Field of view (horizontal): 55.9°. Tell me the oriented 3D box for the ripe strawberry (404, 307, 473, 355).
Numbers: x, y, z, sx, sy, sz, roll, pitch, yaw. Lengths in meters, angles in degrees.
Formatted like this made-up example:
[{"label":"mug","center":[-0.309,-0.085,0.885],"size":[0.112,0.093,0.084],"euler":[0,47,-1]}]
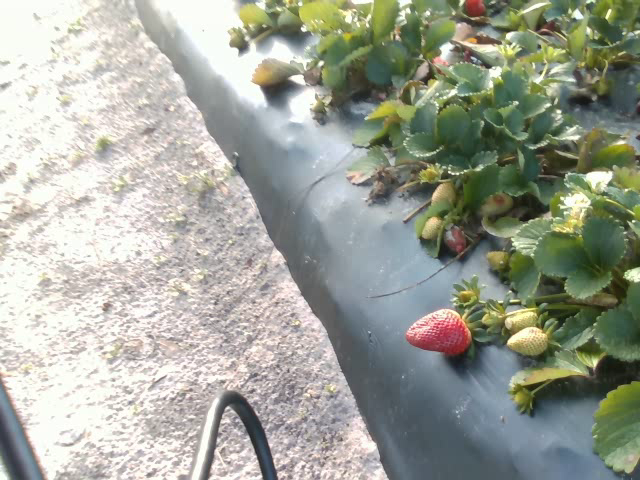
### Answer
[{"label":"ripe strawberry","center":[0.123,0.098,0.637],"size":[0.067,0.045,0.053],"euler":[-15,40,-12]}]
